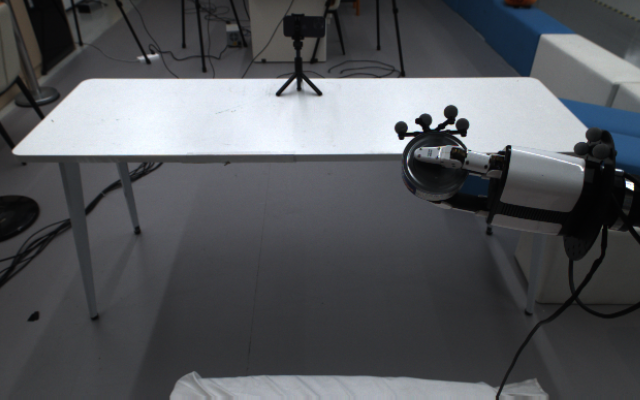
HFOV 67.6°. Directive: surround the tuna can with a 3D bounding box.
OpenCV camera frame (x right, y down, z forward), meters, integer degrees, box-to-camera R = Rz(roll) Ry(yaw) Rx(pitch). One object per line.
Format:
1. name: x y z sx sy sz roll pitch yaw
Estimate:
1. tuna can: 0.149 -0.044 0.624 0.085 0.034 0.085 -2 69 6
